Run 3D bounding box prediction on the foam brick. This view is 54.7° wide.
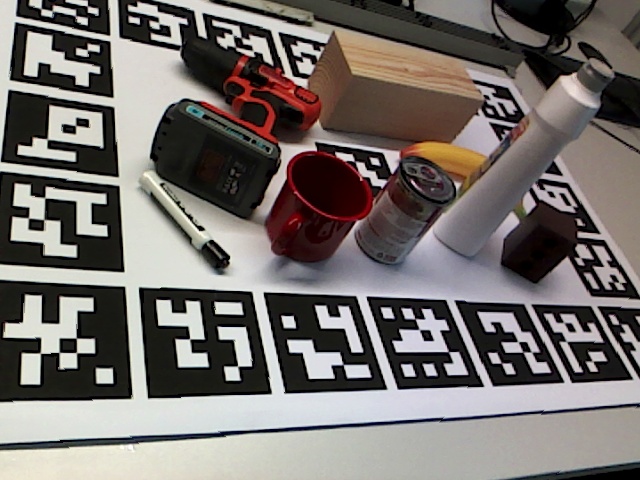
[{"bbox_3d":[0.264,0.003,0.756,0.053,0.078,0.051,28,41,-2],"label":"foam brick"}]

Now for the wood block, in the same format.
[{"bbox_3d":[0.097,-0.195,0.831,0.205,0.091,0.090,3,51,-29],"label":"wood block"}]

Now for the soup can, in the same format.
[{"bbox_3d":[0.090,-0.033,0.658,0.067,0.102,0.068,18,40,-16],"label":"soup can"}]

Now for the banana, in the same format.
[{"bbox_3d":[0.182,-0.107,0.832,0.196,0.039,0.074,18,58,-19],"label":"banana"}]

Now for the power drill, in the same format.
[{"bbox_3d":[-0.096,-0.133,0.689,0.184,0.057,0.187,28,41,-10],"label":"power drill"}]

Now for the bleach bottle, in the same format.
[{"bbox_3d":[0.219,-0.092,0.687,0.068,0.251,0.103,26,42,-7],"label":"bleach bottle"}]

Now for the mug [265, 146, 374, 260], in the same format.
[{"bbox_3d":[-0.010,-0.026,0.615,0.093,0.081,0.117,37,46,2],"label":"mug"}]

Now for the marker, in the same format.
[{"bbox_3d":[-0.125,-0.010,0.583,0.019,0.019,0.121,-29,70,-41],"label":"marker"}]
